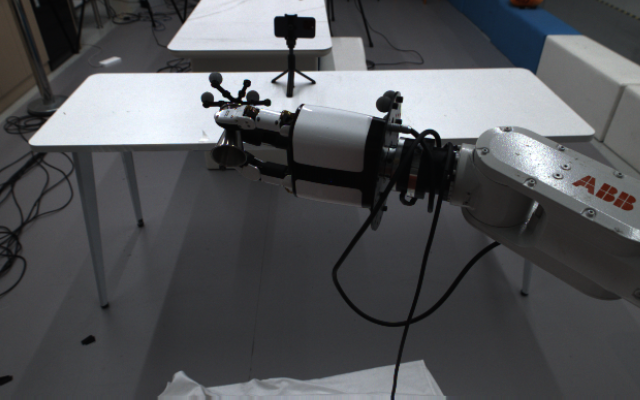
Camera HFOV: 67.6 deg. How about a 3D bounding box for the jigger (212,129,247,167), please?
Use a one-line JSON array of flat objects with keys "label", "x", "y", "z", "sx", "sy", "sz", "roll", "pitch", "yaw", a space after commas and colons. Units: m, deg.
[{"label": "jigger", "x": -0.108, "y": -0.084, "z": 0.594, "sx": 0.043, "sy": 0.043, "sz": 0.071, "roll": 2, "pitch": 59, "yaw": -1}]
